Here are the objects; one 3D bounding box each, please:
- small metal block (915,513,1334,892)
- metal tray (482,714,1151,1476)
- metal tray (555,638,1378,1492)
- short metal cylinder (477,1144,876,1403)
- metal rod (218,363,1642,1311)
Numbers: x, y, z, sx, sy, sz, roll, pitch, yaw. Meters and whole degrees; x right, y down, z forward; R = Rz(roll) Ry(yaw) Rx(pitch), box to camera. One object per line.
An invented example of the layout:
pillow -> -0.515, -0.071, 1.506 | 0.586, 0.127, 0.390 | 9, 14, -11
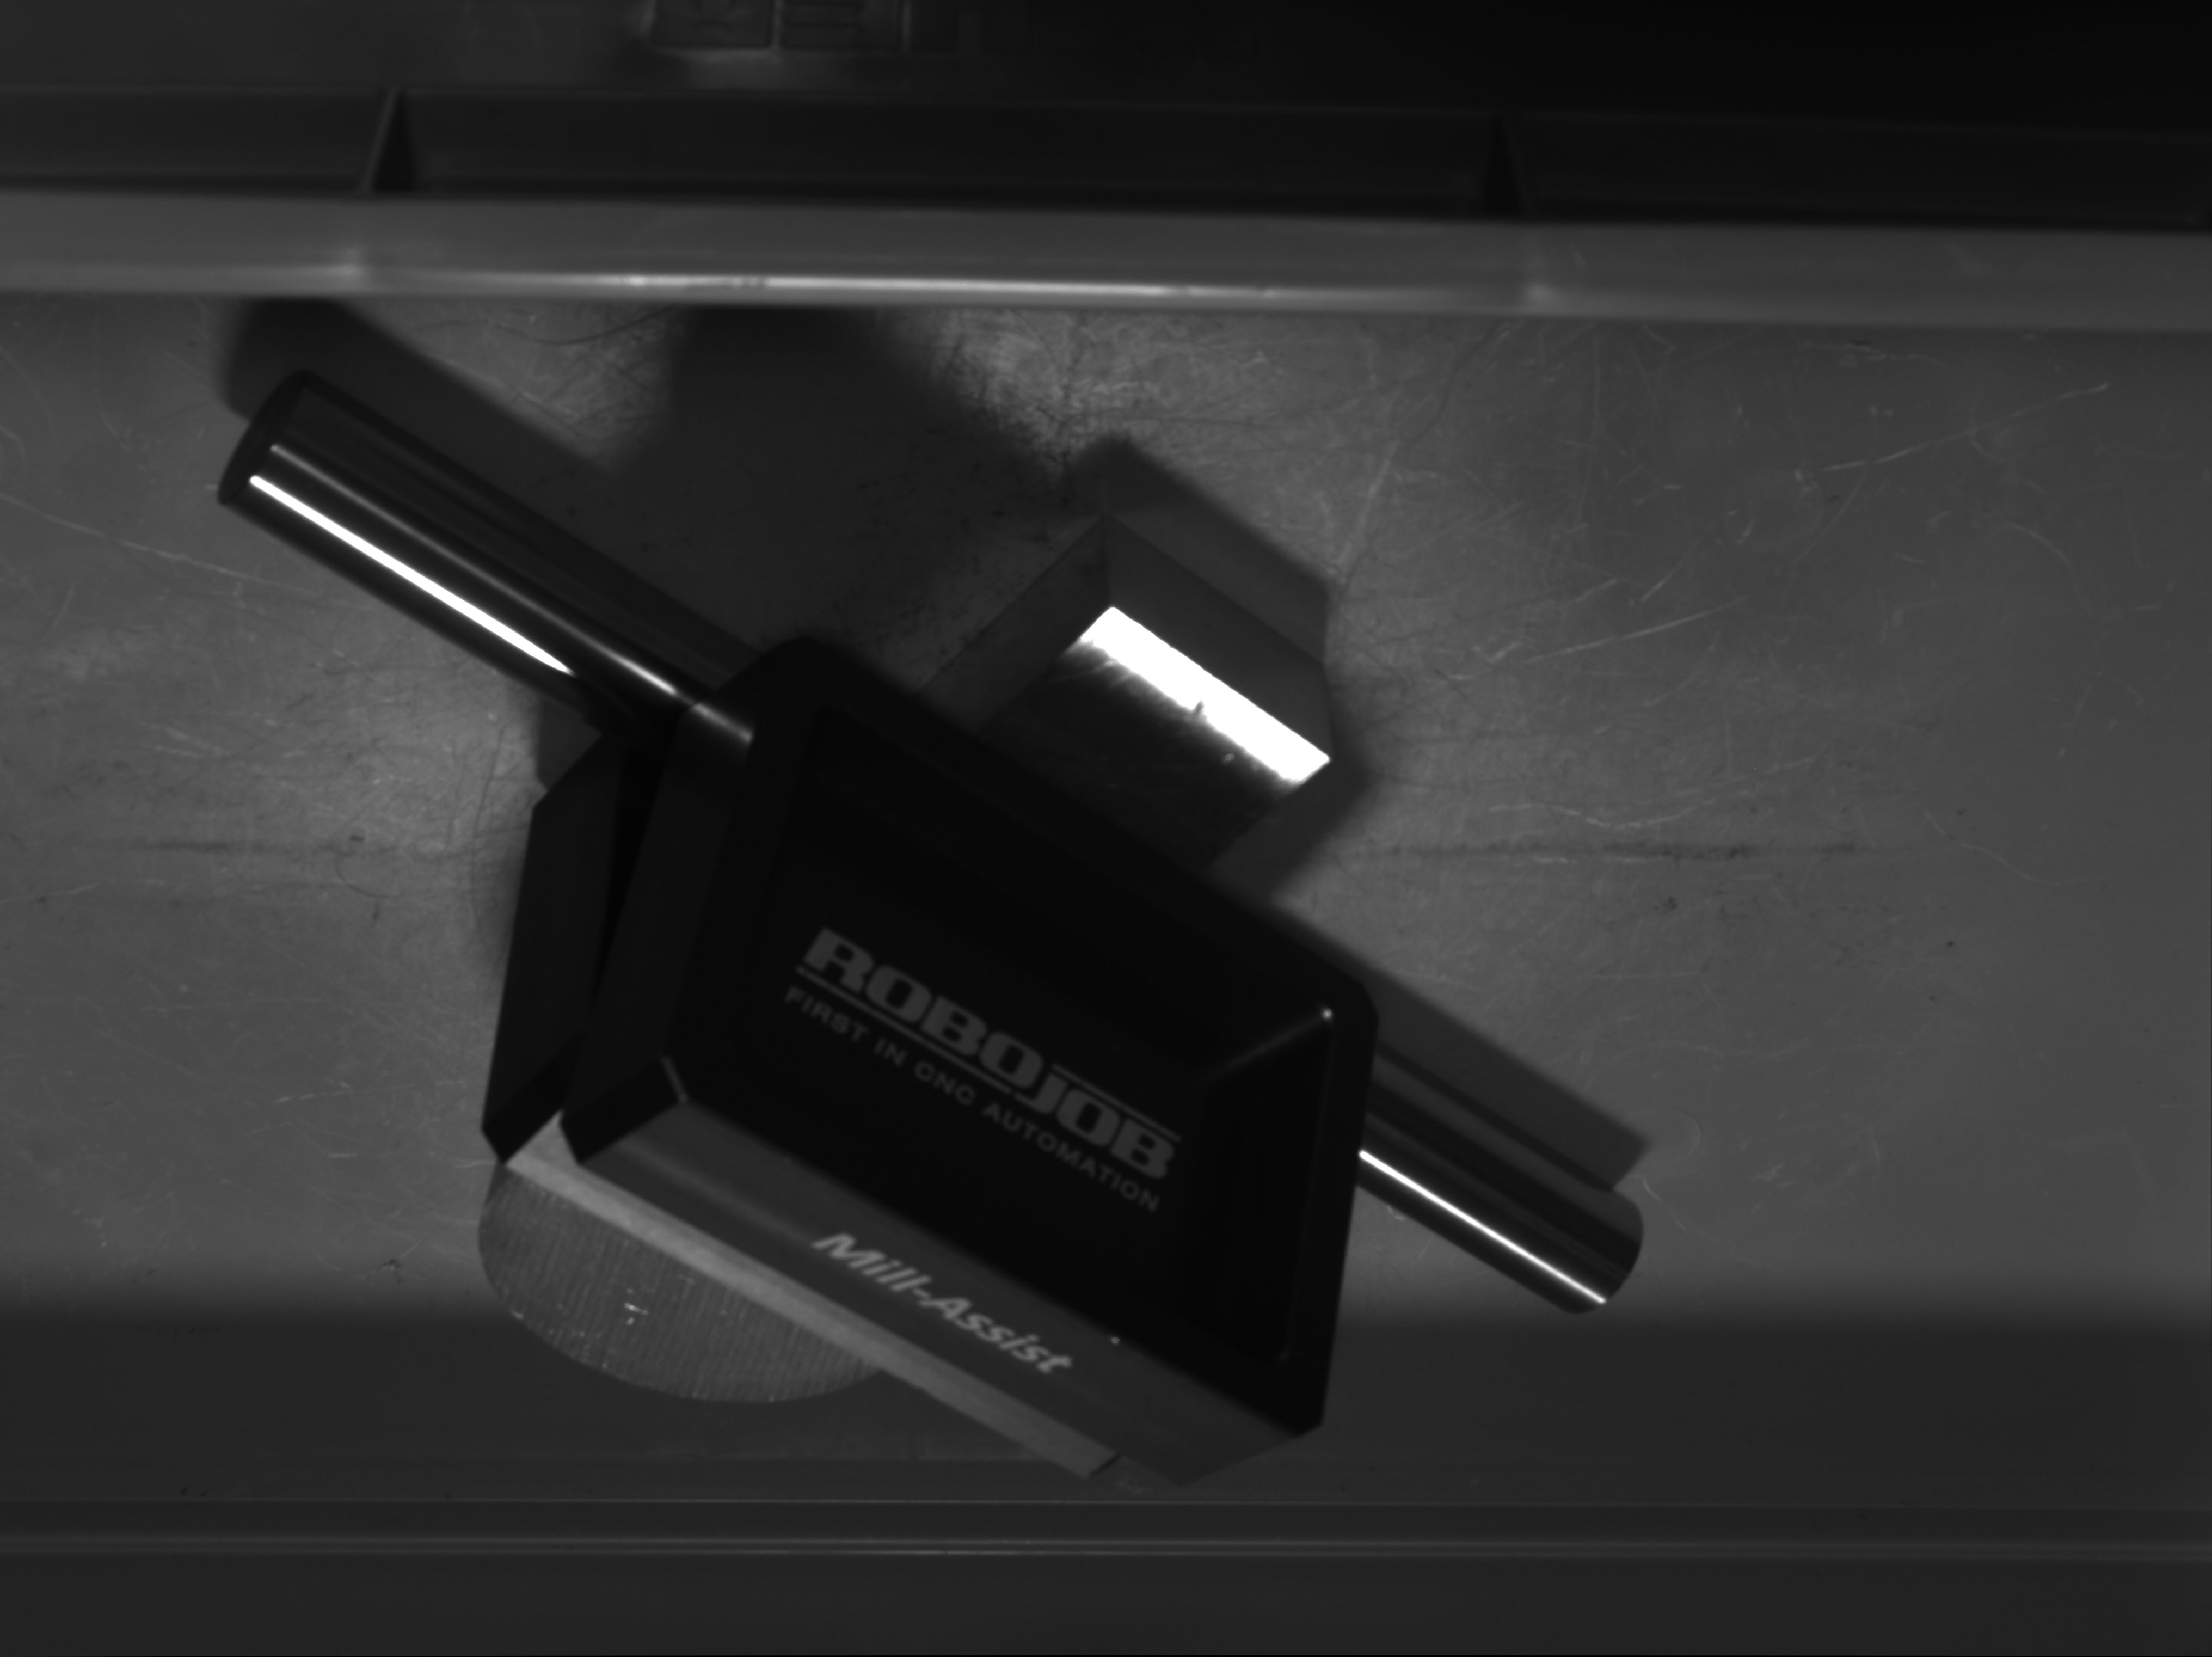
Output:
small metal block -> 0.003, -0.018, 0.622 | 0.050, 0.025, 0.050 | 34, 121, -26
metal tray -> -0.041, 0.045, 0.631 | 0.130, 0.090, 0.030 | 32, 122, -25
metal tray -> -0.018, 0.039, 0.594 | 0.130, 0.090, 0.030 | 32, 139, -25
short metal cylinder -> -0.069, 0.060, 0.661 | 0.080, 0.050, 0.080 | 3, 137, 3
metal rod -> -0.020, 0.009, 0.646 | 0.301, 0.025, 0.025 | 32, 122, -26
